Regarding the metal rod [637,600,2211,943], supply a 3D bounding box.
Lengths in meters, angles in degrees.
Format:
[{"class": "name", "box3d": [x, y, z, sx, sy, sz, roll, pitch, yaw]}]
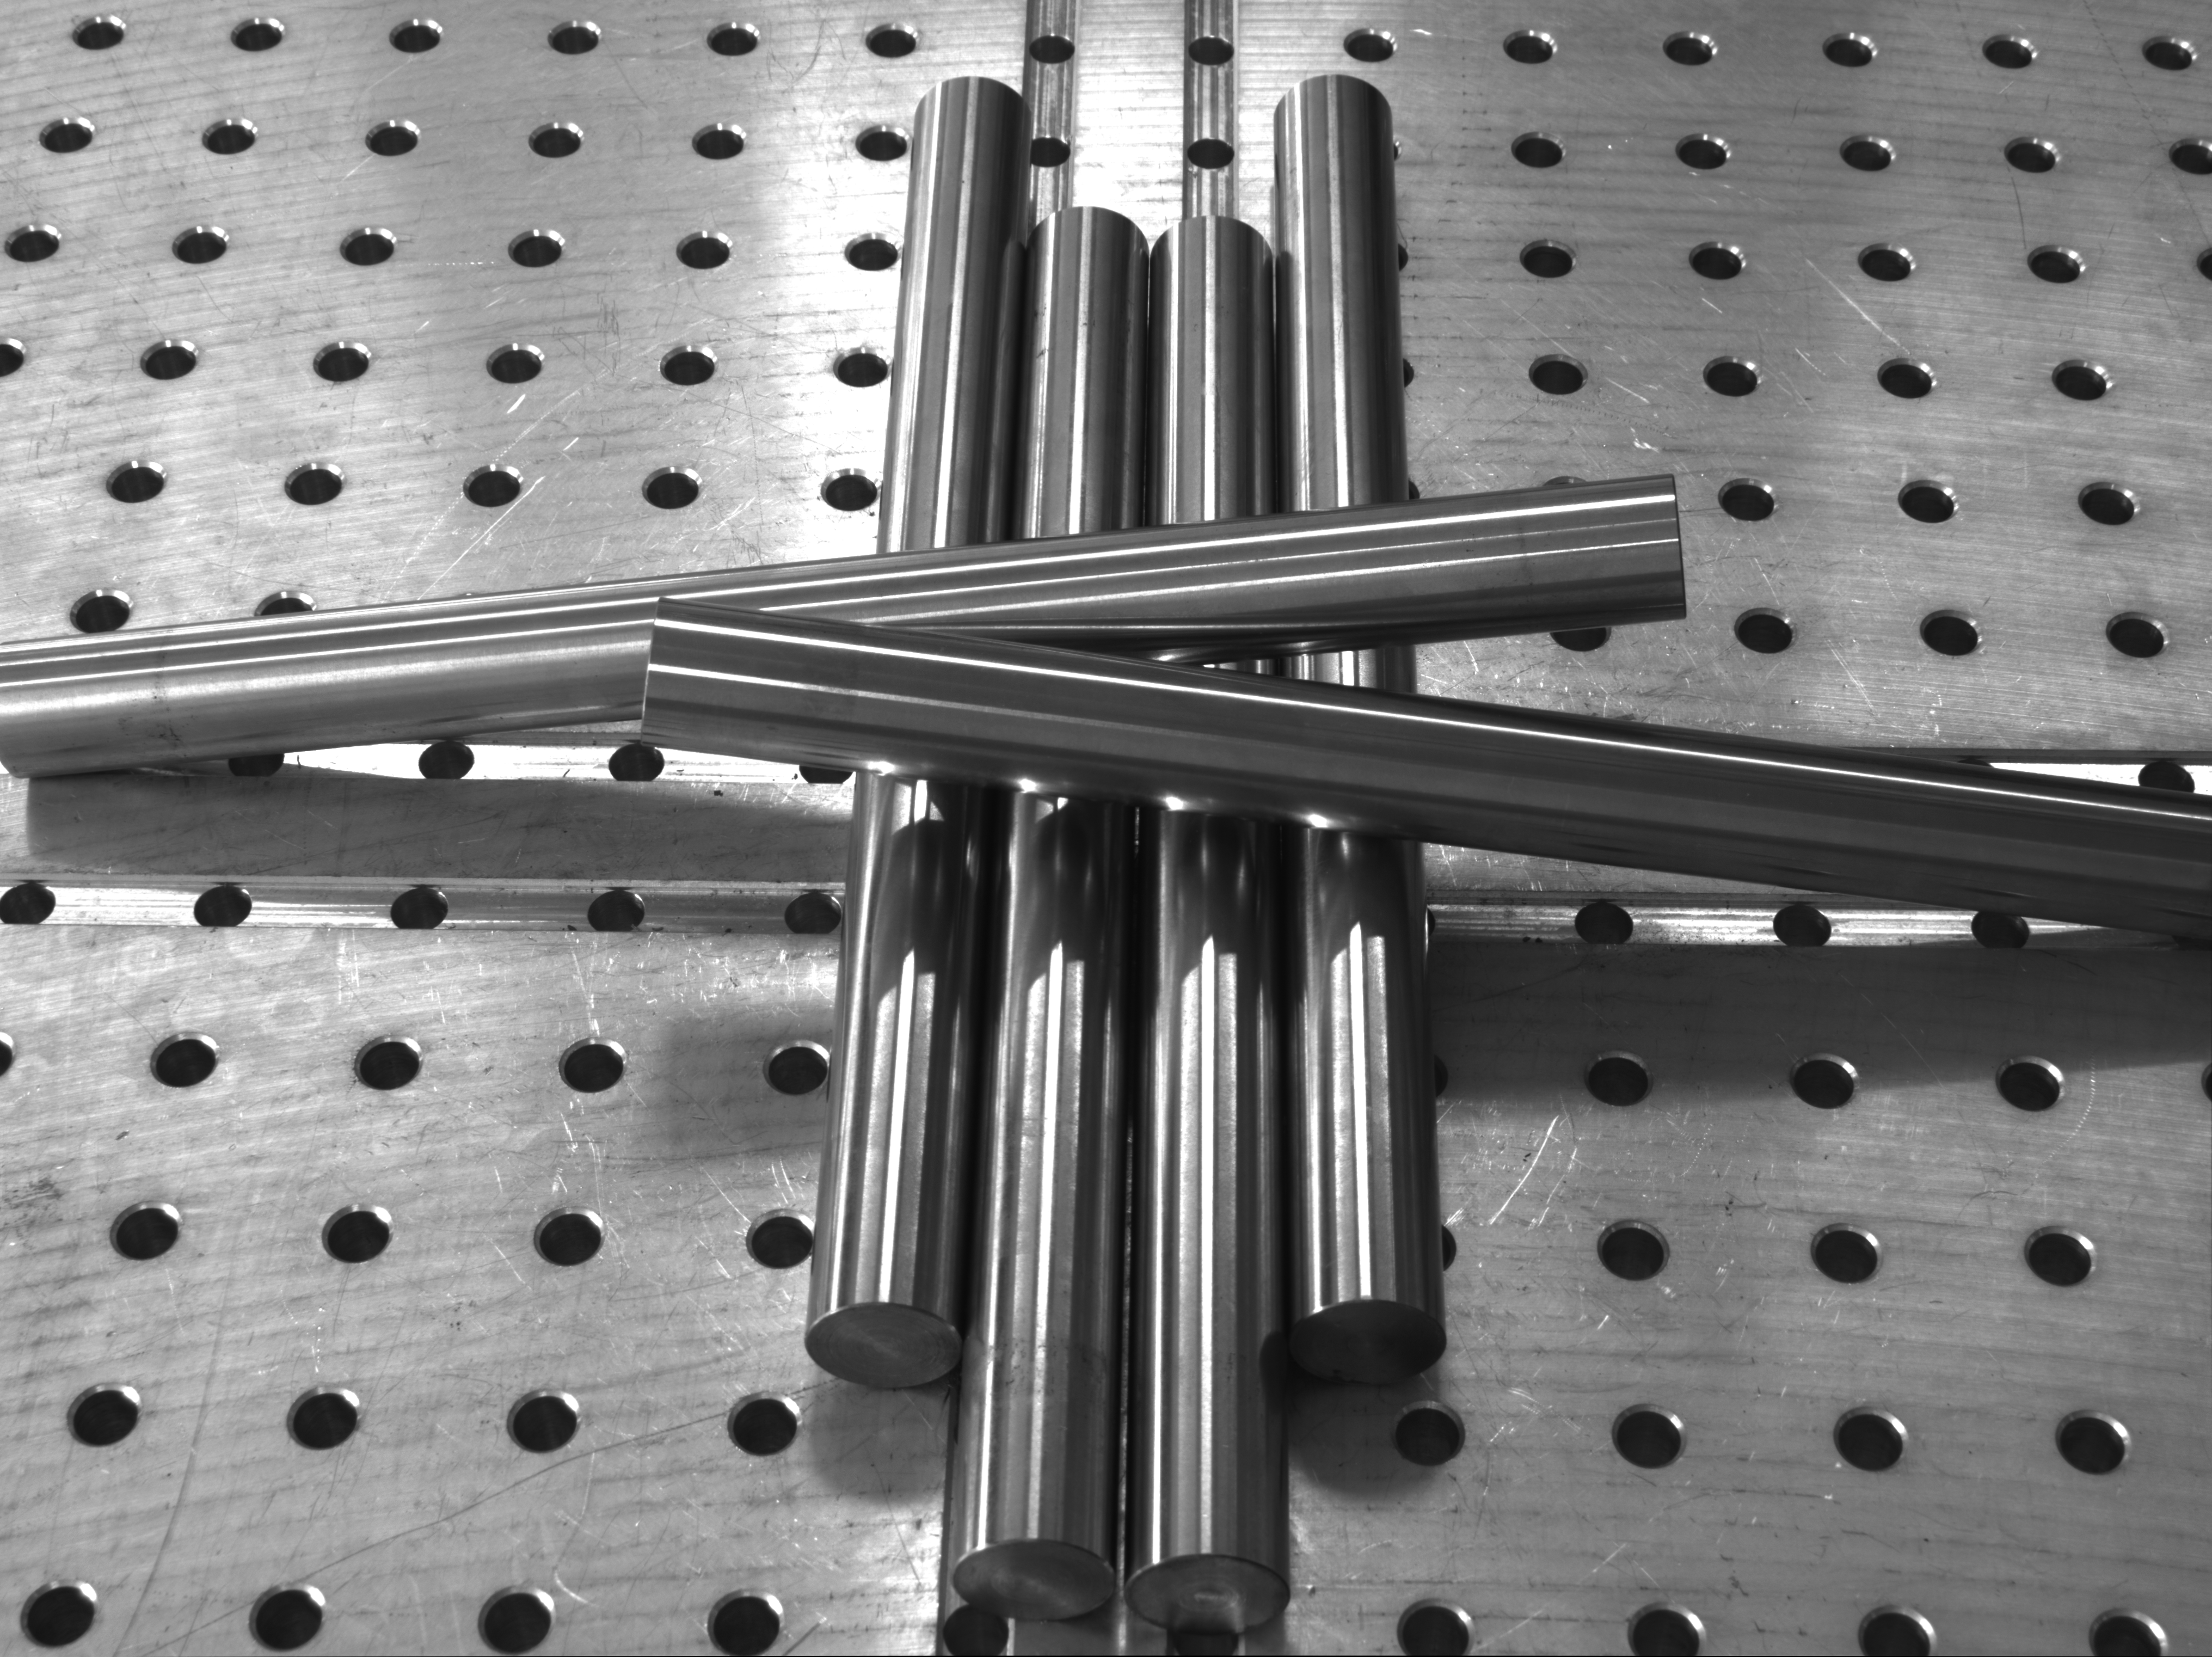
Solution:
[{"class": "metal rod", "box3d": [0.072, -0.007, 0.625, 0.300, 0.025, 0.025, 7, 50, -5]}]

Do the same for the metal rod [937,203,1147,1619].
[{"class": "metal rod", "box3d": [-0.008, -0.002, 0.646, 0.025, 0.025, 0.300, 1, 50, 1]}]

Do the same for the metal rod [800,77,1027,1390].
[{"class": "metal rod", "box3d": [-0.032, -0.033, 0.673, 0.025, 0.025, 0.300, 1, 50, 1]}]

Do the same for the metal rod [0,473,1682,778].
[{"class": "metal rod", "box3d": [-0.051, -0.035, 0.645, 0.300, 0.025, 0.025, -5, 49, 8]}]

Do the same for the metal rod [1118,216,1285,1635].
[{"class": "metal rod", "box3d": [0.018, 0.000, 0.647, 0.025, 0.025, 0.300, 1, 50, 1]}]

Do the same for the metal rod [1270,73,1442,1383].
[{"class": "metal rod", "box3d": [0.044, -0.034, 0.673, 0.025, 0.025, 0.300, 1, 50, 1]}]
